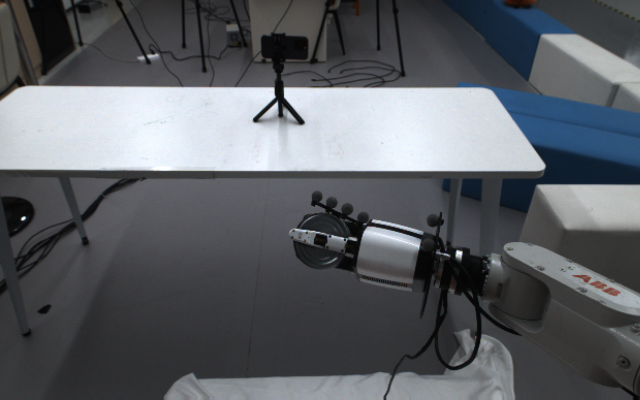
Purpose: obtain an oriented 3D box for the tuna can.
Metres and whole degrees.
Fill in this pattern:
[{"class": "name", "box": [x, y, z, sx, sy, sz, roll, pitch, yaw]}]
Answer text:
[{"class": "tuna can", "box": [0.006, 0.062, 0.736, 0.085, 0.085, 0.034, 13, -6, 16]}]
